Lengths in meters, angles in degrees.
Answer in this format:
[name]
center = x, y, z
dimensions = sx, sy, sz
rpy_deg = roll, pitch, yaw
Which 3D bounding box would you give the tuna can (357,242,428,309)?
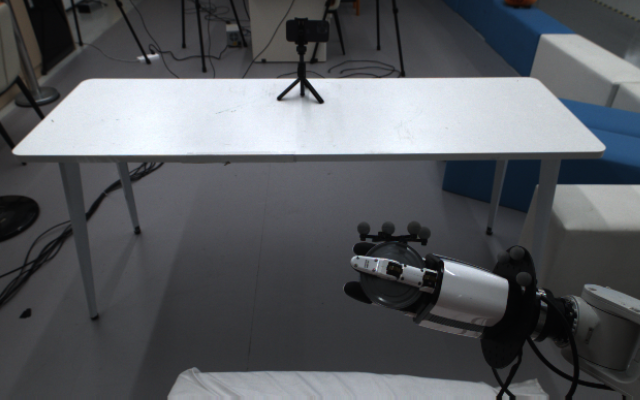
[tuna can]
center = 0.094, 0.096, 0.625
dimensions = 0.085, 0.034, 0.085
rpy_deg = 0, 74, 1
